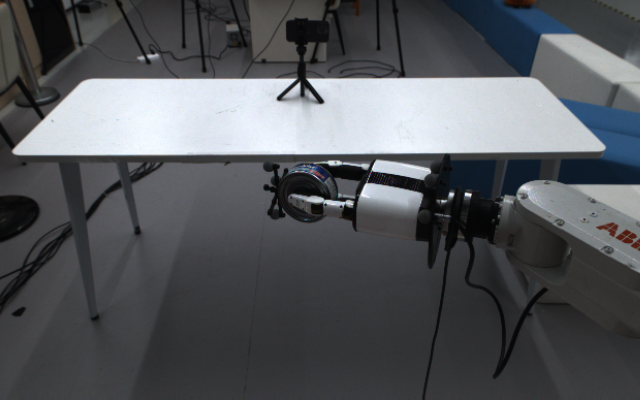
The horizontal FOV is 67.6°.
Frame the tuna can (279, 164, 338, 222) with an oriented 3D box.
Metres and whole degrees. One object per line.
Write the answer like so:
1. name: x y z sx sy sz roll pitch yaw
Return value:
1. tuna can: -0.016 -0.012 0.717 0.085 0.085 0.034 12 28 14
